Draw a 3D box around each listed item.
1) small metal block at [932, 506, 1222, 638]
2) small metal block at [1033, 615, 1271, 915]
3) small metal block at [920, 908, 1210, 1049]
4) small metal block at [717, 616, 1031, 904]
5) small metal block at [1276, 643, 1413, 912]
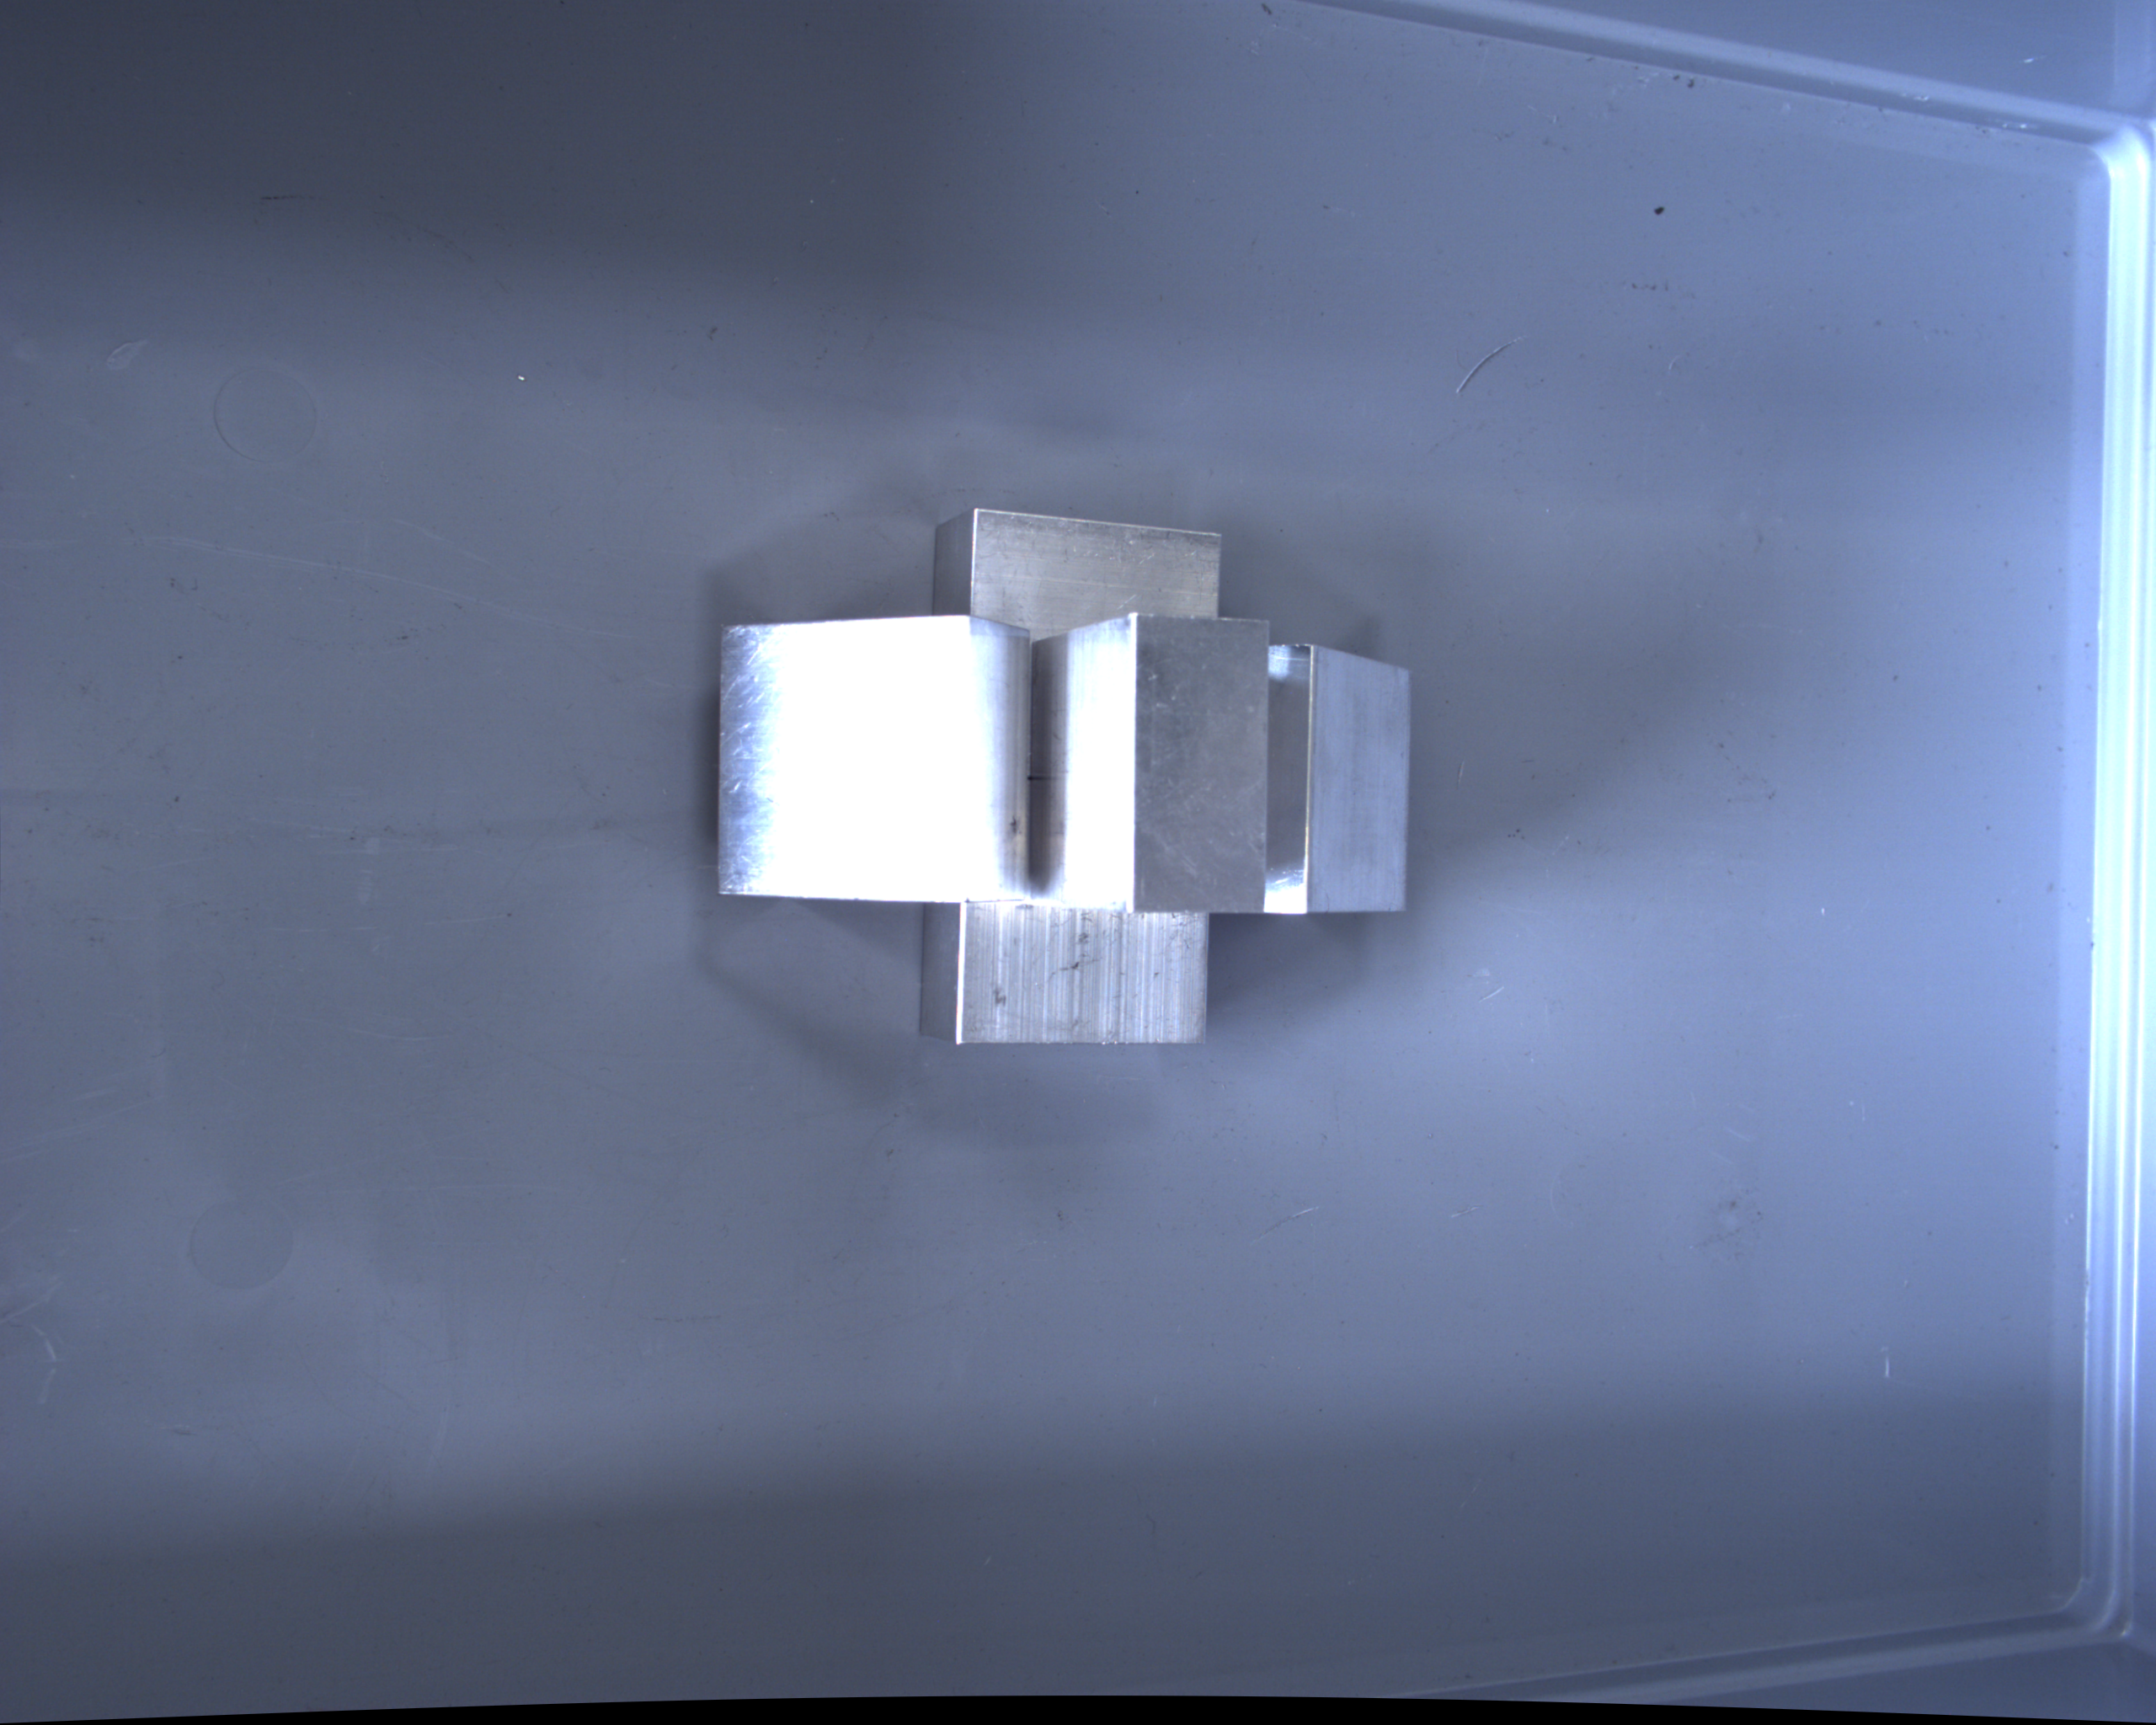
[{"bbox_3d":[-0.001,-0.040,0.407,0.050,0.025,0.050,3,89,-21],"label":"small metal block"},{"bbox_3d":[0.012,-0.016,0.372,0.025,0.050,0.050,1,90,-21],"label":"small metal block"},{"bbox_3d":[-0.002,0.010,0.407,0.050,0.025,0.050,3,89,-20],"label":"small metal block"},{"bbox_3d":[-0.037,-0.018,0.380,0.050,0.025,0.050,1,90,23],"label":"small metal block"},{"bbox_3d":[0.044,-0.016,0.412,0.050,0.025,0.050,2,90,-59],"label":"small metal block"}]
